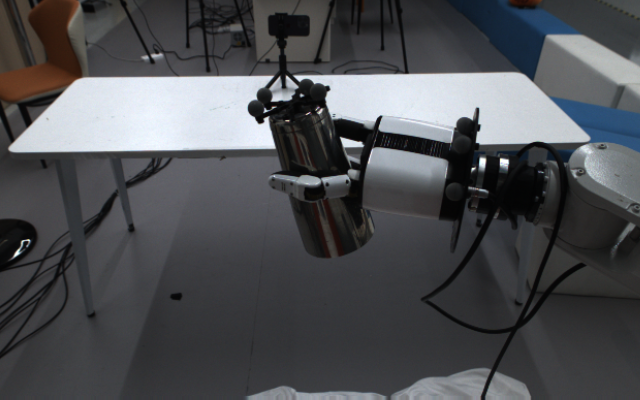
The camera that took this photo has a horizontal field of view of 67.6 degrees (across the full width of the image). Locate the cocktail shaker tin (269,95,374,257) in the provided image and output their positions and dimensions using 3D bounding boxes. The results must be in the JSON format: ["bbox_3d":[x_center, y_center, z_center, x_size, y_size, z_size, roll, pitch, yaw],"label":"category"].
[{"bbox_3d":[0.000,-0.026,0.564,0.093,0.170,0.093,-15,28,8],"label":"cocktail shaker tin"}]
